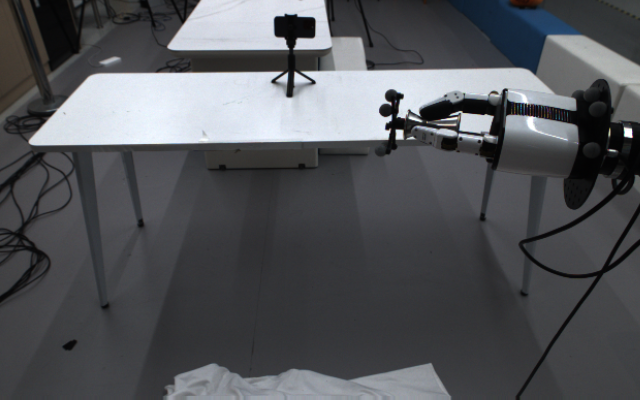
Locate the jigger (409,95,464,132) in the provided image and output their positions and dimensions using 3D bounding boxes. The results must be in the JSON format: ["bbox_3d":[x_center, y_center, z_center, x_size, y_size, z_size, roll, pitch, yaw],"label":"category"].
[{"bbox_3d":[0.153,-0.099,0.637,0.071,0.043,0.043,9,35,17],"label":"jigger"}]
